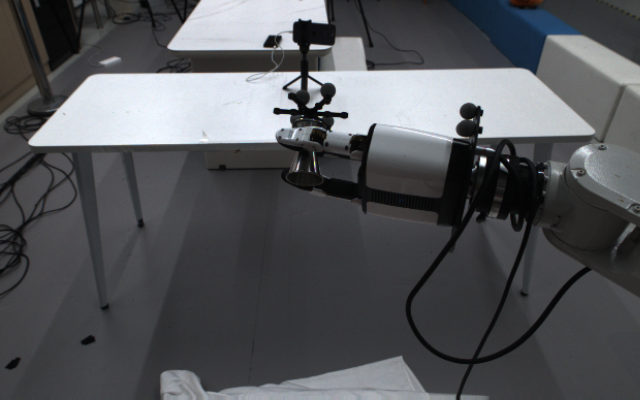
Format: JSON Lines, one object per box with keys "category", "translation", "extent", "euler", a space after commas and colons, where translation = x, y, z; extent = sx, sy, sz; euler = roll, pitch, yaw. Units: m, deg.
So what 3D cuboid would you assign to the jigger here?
{"category": "jigger", "translation": [-0.016, -0.055, 0.562], "extent": [0.043, 0.043, 0.071], "euler": [4, 71, 3]}
